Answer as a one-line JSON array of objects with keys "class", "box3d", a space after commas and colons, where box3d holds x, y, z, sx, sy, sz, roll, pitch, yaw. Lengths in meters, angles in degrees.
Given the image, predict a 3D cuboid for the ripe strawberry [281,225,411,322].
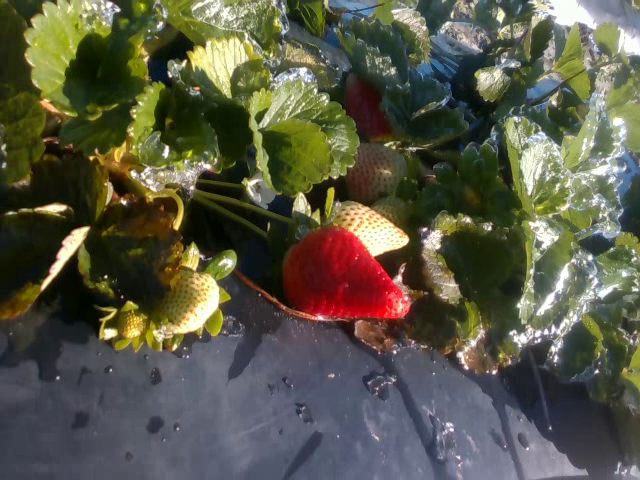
[{"class": "ripe strawberry", "box3d": [0.011, 0.016, 0.216, 0.053, 0.042, 0.040, 26, 45, 38]}]
